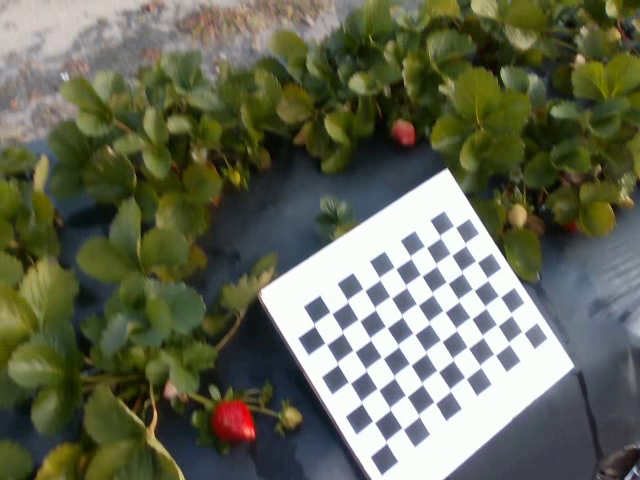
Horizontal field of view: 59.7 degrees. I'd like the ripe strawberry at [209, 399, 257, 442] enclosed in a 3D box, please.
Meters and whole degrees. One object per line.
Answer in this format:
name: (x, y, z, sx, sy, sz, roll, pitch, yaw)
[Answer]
ripe strawberry: (-0.086, 0.195, 0.597, 0.052, 0.043, 0.057, 40, -13, -36)
